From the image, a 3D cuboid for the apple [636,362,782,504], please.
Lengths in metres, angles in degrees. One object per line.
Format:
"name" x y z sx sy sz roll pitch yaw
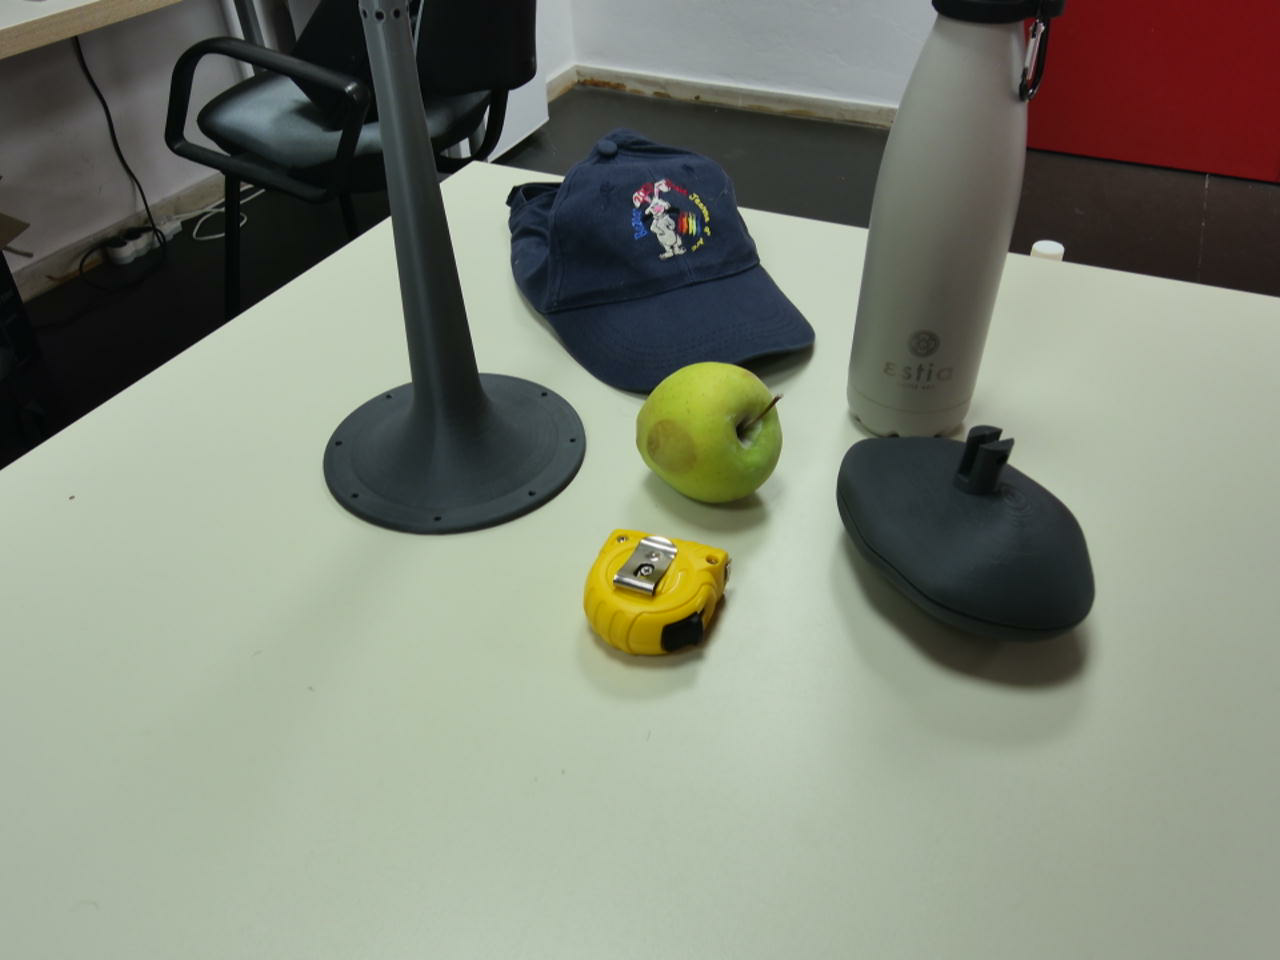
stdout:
"apple" 0.037 -0.027 0.528 0.072 0.075 0.077 -12 40 -16
